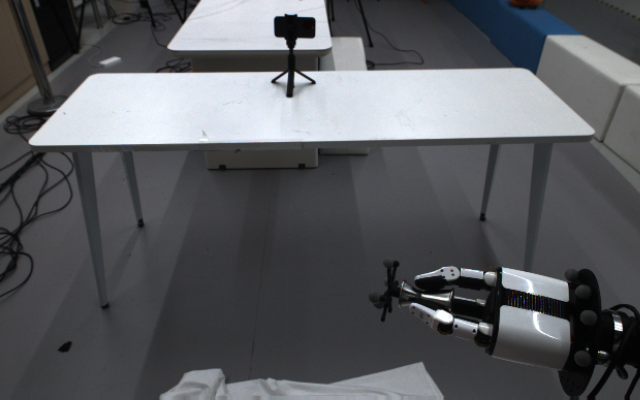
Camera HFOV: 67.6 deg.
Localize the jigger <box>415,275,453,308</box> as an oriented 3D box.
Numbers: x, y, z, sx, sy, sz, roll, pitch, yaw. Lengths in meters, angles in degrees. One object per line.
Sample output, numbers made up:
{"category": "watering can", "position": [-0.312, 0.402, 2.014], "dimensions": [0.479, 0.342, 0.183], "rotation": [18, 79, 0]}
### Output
{"category": "jigger", "position": [0.153, 0.127, 0.663], "dimensions": [0.071, 0.043, 0.043], "rotation": [7, 34, 21]}
